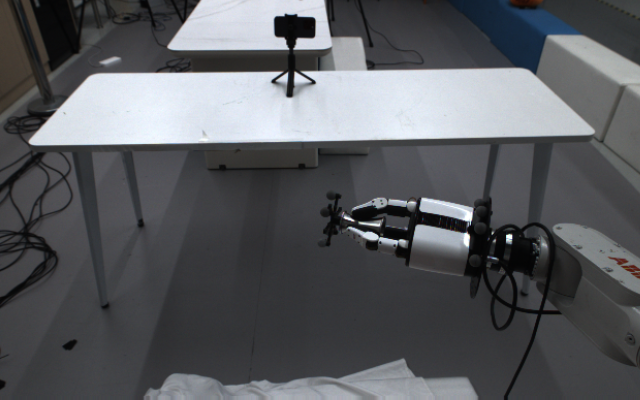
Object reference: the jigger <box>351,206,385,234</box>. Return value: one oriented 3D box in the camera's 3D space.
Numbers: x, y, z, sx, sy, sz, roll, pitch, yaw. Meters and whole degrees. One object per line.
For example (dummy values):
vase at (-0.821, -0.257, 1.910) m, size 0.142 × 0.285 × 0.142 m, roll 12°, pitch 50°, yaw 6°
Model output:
jigger at (0.075, 0.039, 0.788) m, size 0.071 × 0.043 × 0.043 m, roll 11°, pitch 36°, yaw 15°
